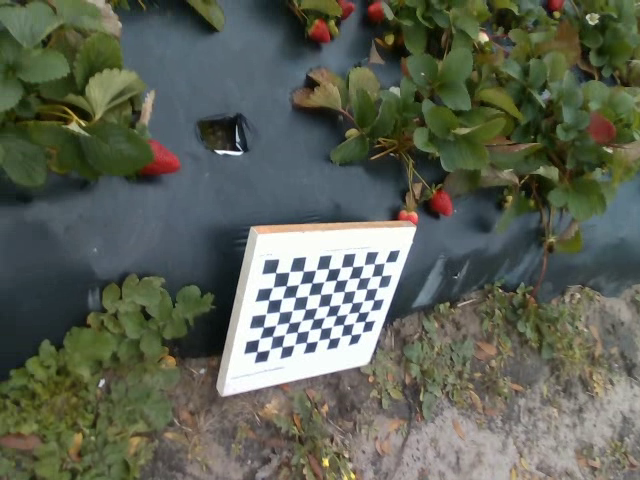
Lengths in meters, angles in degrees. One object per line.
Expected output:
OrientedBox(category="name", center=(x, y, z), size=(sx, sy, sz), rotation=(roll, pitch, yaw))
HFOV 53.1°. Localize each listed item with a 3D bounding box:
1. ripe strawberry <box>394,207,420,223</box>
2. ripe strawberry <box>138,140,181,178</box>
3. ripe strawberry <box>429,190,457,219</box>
OrientedBox(category="ripe strawberry", center=(0.145, -0.031, 1.021), size=(0.036, 0.041, 0.027), rotation=(2, 10, -27))
OrientedBox(category="ripe strawberry", center=(-0.199, -0.095, 0.793), size=(0.064, 0.046, 0.049), rotation=(20, 26, -10))
OrientedBox(category="ripe strawberry", center=(0.205, -0.063, 1.064), size=(0.044, 0.059, 0.042), rotation=(-36, 22, 2))
